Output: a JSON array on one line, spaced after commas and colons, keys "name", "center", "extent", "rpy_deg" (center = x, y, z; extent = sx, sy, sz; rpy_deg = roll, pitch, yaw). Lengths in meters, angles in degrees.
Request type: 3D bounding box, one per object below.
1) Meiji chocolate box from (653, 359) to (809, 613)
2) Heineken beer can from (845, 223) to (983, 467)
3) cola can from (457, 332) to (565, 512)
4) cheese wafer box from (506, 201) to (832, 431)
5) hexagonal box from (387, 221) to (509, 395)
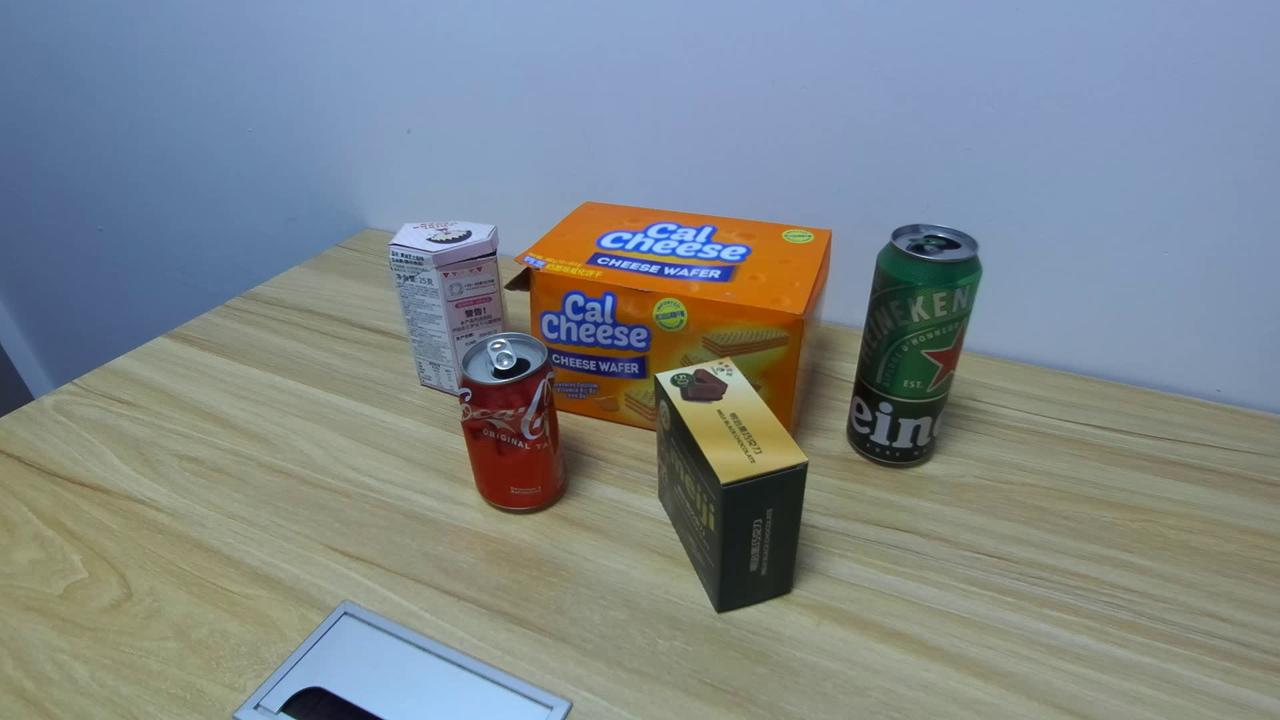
[{"name": "Meiji chocolate box", "center": [0.052, 0.075, 0.436], "extent": [0.056, 0.109, 0.109], "rpy_deg": [-12, 35, -14]}, {"name": "Heineken beer can", "center": [0.189, -0.006, 0.496], "extent": [0.067, 0.169, 0.067], "rpy_deg": [-1, 33, 1]}, {"name": "cola can", "center": [-0.087, 0.042, 0.483], "extent": [0.066, 0.117, 0.066], "rpy_deg": [4, 34, 8]}, {"name": "cheese wafer box", "center": [0.030, -0.037, 0.577], "extent": [0.226, 0.137, 0.150], "rpy_deg": [11, 37, 17]}, {"name": "hexagonal box", "center": [-0.156, -0.046, 0.600], "extent": [0.092, 0.135, 0.084], "rpy_deg": [-19, 37, -25]}]
